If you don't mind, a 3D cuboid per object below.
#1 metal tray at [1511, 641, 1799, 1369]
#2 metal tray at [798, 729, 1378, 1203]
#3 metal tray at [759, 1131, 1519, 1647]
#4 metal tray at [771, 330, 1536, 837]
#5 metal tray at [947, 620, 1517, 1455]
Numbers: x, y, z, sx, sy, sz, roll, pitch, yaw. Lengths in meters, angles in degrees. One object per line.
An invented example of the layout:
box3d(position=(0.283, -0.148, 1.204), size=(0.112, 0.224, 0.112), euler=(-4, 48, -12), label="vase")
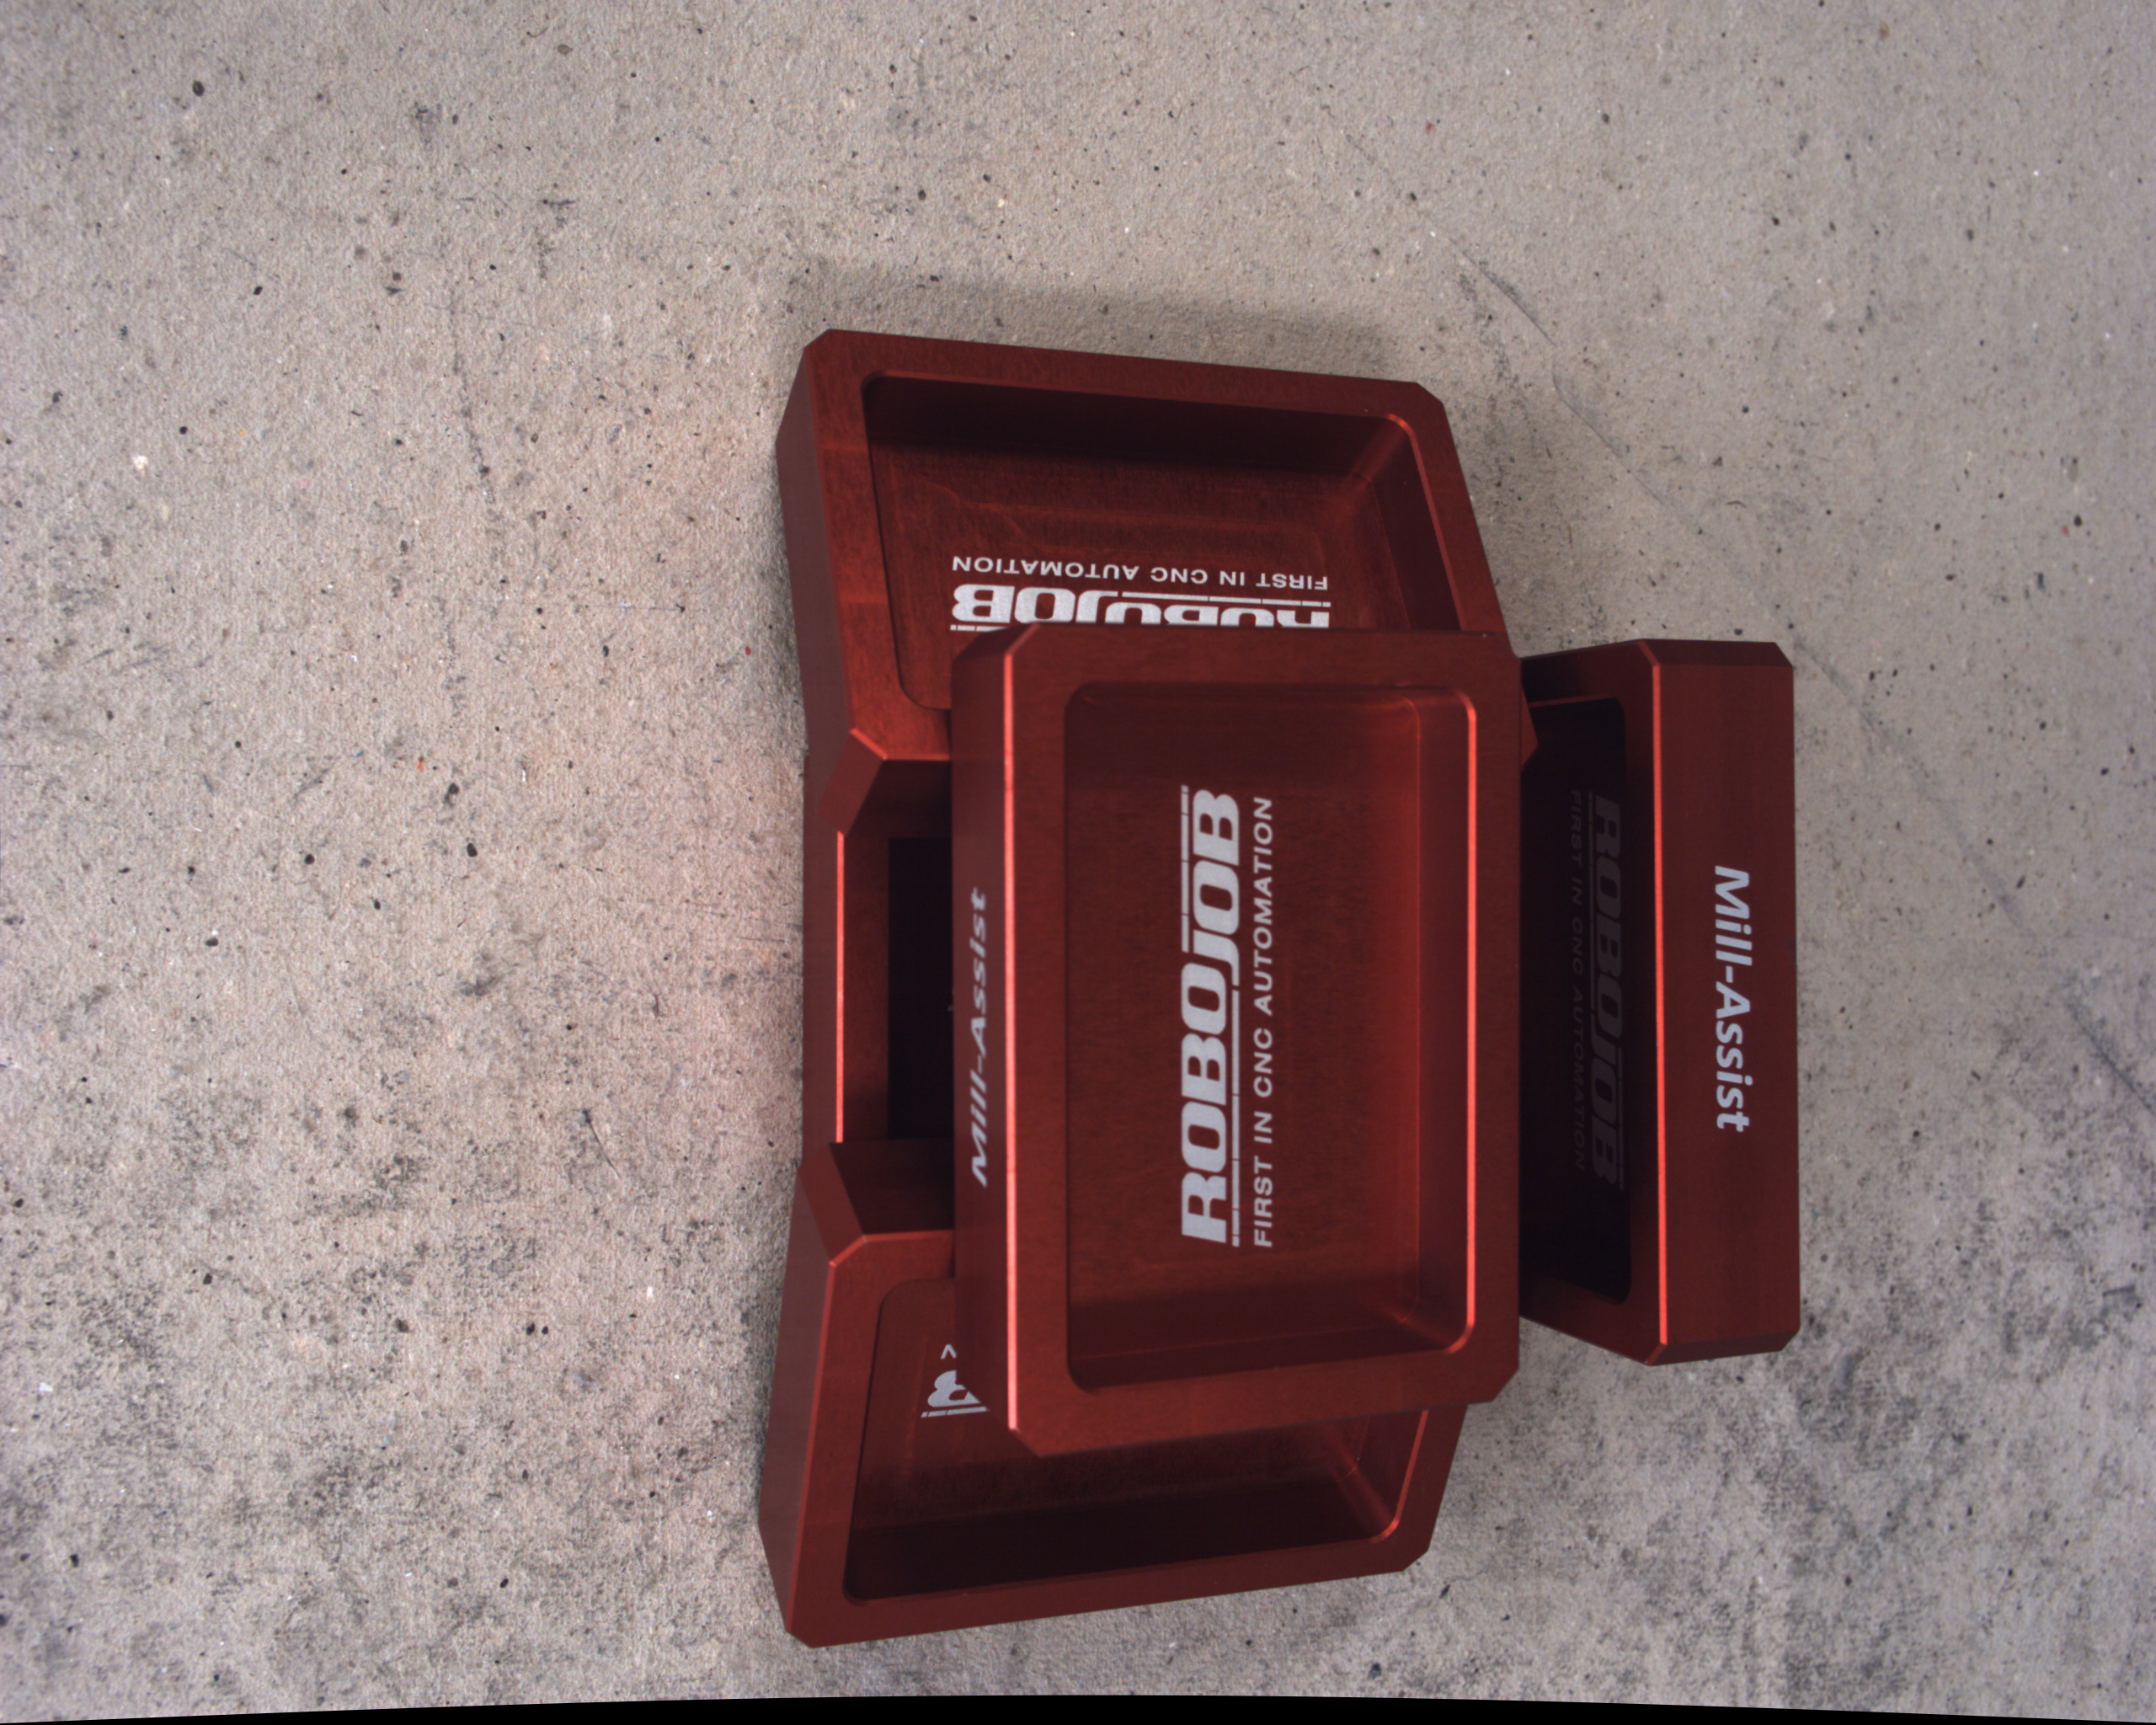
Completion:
box3d(position=(0.101, 0.025, 0.412), size=(0.030, 0.090, 0.129), euler=(-1, 91, -20), label="metal tray")
box3d(position=(0.013, 0.019, 0.410), size=(0.131, 0.030, 0.089), euler=(-1, 92, -20), label="metal tray")
box3d(position=(0.010, 0.096, 0.393), size=(0.131, 0.030, 0.089), euler=(0, 115, -20), label="metal tray")
box3d(position=(0.013, -0.051, 0.394), size=(0.131, 0.030, 0.090), euler=(0, 63, -21), label="metal tray")
box3d(position=(0.026, 0.026, 0.348), size=(0.091, 0.030, 0.129), euler=(-1, 93, -20), label="metal tray")
